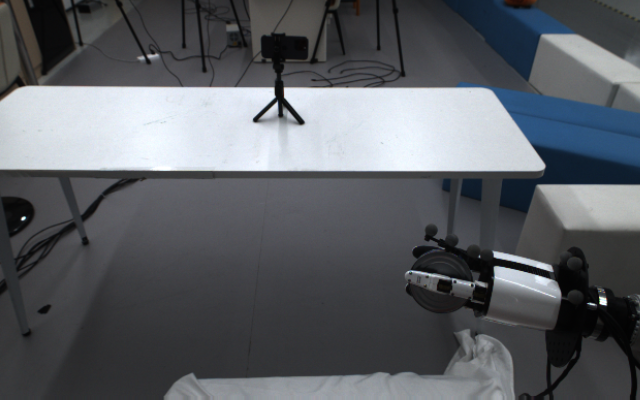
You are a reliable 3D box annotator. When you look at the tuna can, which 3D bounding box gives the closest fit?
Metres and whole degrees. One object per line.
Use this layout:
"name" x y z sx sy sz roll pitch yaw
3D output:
"tuna can" 0.169 0.110 0.669 0.085 0.085 0.034 14 2 16
